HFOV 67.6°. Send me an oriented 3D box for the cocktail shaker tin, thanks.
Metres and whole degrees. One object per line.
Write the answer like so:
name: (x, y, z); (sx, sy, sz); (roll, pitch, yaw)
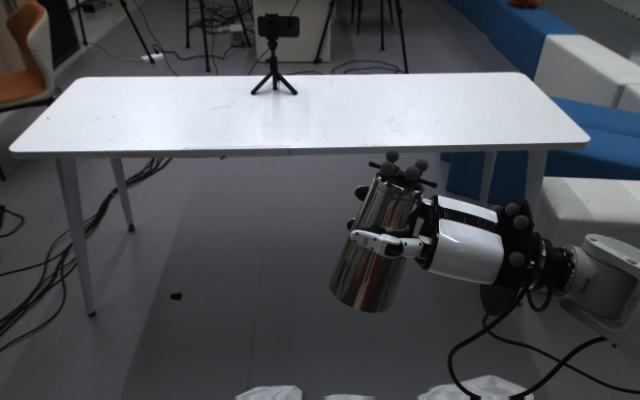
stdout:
cocktail shaker tin: (0.081, 0.051, 0.640); (0.093, 0.170, 0.093); (14, 22, -6)
